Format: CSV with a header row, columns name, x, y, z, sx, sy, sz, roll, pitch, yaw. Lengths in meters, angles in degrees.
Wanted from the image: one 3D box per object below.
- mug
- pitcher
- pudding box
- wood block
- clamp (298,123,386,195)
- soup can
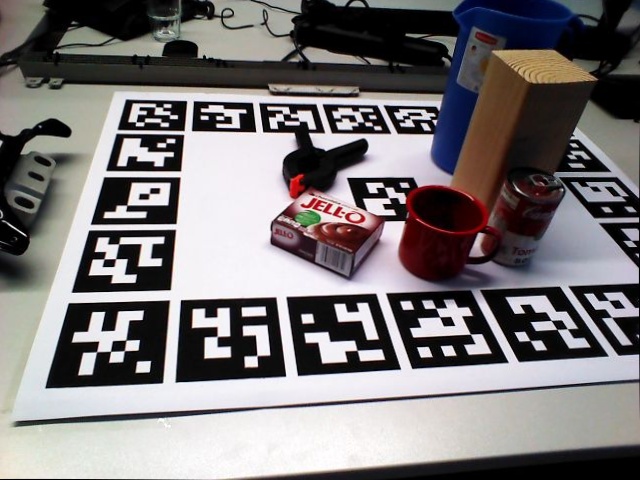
name,x,y,z,sx,sy,sz,roll,pitch,yaw
mug,0.164,0.000,0.590,0.117,0.082,0.092,22,41,20
pitcher,0.276,-0.213,0.727,0.189,0.243,0.133,-4,39,-6
pudding box,0.016,-0.010,0.623,0.114,0.039,0.089,24,47,21
wood block,0.265,-0.122,0.644,0.090,0.207,0.090,-1,41,-13
clamp,0.018,-0.111,0.749,0.122,0.037,0.164,23,44,9
soup can,0.255,-0.024,0.609,0.068,0.102,0.067,3,43,-3
